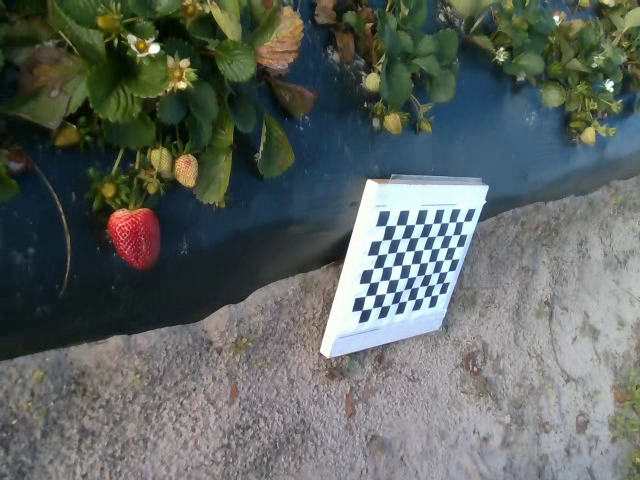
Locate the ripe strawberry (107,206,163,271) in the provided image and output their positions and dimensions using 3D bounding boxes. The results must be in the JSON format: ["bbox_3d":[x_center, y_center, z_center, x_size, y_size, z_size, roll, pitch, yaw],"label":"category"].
[{"bbox_3d":[-0.193,-0.003,0.635,0.052,0.068,0.044,-9,-14,-43],"label":"ripe strawberry"}]
